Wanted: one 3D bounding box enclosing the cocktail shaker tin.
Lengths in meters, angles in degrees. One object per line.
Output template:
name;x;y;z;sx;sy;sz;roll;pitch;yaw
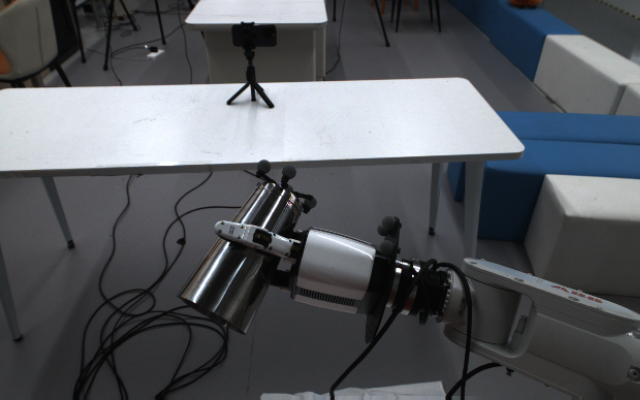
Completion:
cocktail shaker tin;-0.087;0.062;0.589;0.093;0.093;0.170;18;66;22
